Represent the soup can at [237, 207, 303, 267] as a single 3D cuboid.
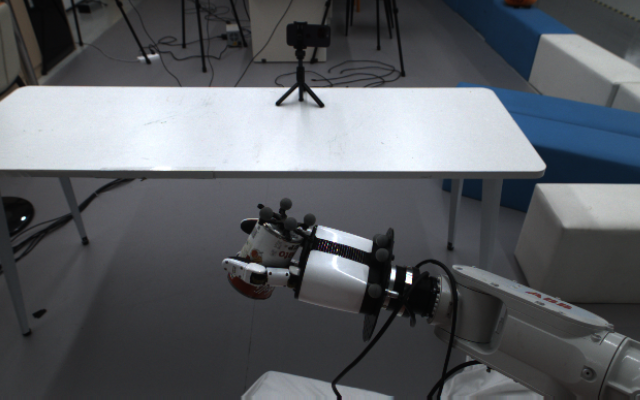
[{"bbox_3d":[-0.074,0.077,0.659,0.067,0.101,0.067,28,18,-10],"label":"soup can"}]
